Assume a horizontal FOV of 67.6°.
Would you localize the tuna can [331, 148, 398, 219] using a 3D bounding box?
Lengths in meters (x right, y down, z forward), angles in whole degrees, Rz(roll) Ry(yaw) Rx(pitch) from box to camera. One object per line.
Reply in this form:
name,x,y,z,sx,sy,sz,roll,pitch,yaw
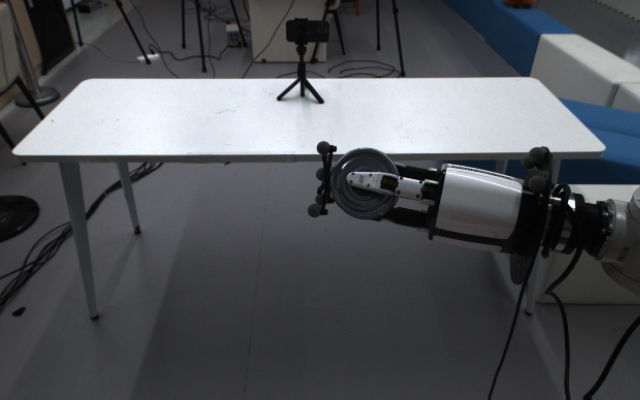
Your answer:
tuna can,0.060,-0.017,0.590,0.085,0.085,0.034,9,-7,10
